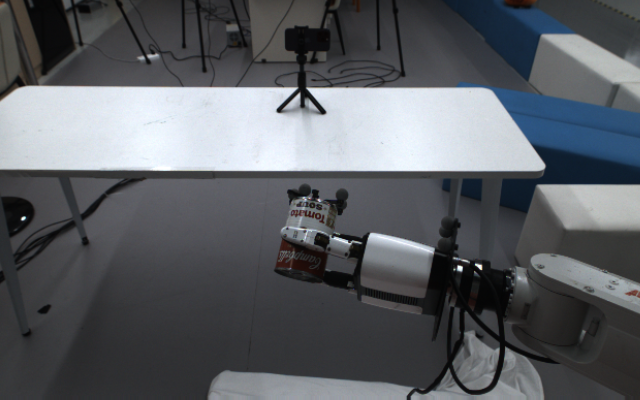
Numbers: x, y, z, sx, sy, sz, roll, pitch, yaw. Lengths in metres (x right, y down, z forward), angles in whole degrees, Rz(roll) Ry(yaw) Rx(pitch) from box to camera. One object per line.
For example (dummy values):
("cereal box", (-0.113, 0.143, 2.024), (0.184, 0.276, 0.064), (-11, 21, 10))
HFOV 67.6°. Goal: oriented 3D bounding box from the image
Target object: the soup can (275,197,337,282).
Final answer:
("soup can", (-0.016, 0.053, 0.653), (0.067, 0.067, 0.101), (9, 72, 10))
